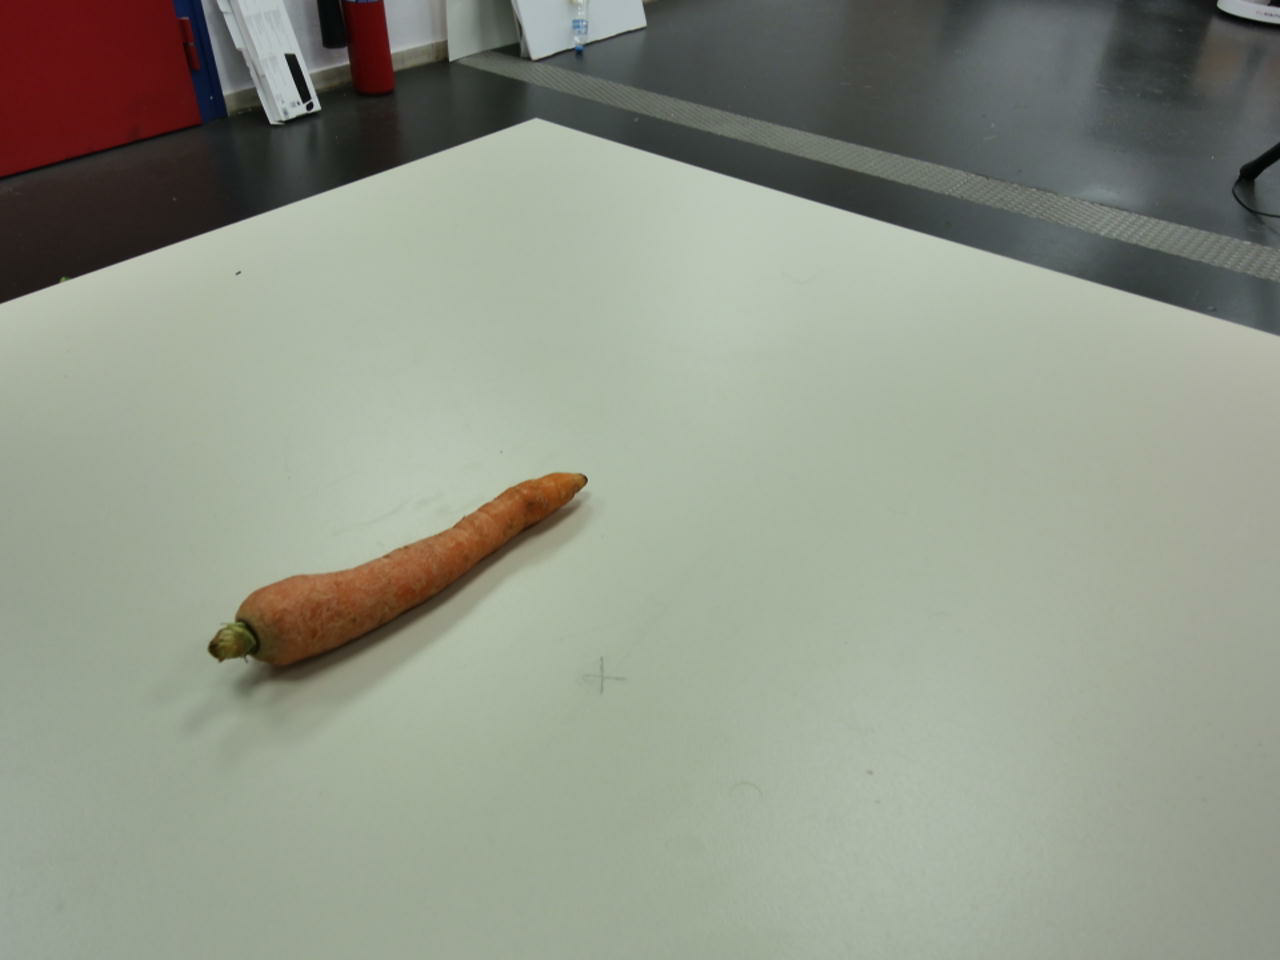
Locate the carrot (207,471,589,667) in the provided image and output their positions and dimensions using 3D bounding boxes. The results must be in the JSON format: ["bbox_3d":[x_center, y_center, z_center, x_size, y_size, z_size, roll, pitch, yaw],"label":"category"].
[{"bbox_3d":[-0.083,0.029,0.390,0.173,0.032,0.030,-28,45,-34],"label":"carrot"}]
